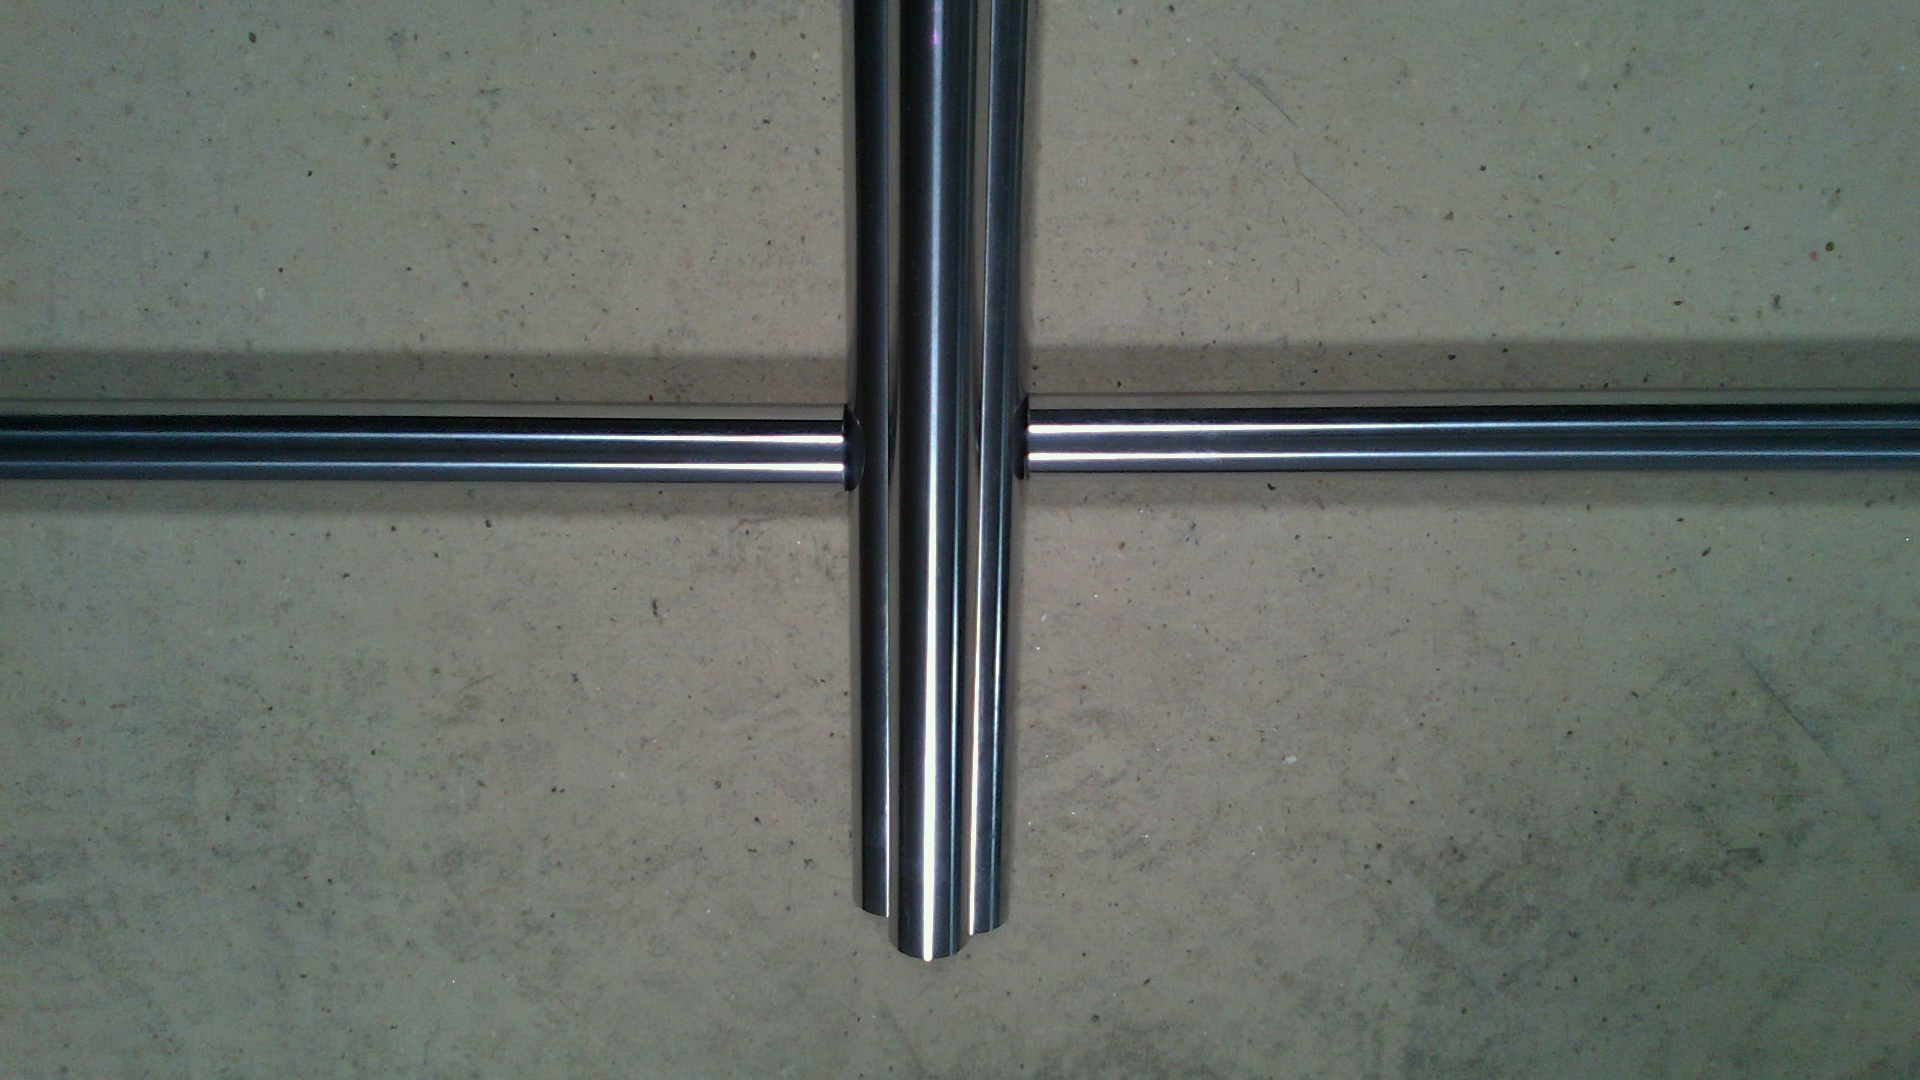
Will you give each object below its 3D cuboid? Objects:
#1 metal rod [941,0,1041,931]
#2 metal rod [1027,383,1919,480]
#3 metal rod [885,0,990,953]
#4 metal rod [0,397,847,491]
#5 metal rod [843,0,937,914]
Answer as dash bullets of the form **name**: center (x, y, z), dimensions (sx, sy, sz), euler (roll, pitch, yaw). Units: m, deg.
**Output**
- **metal rod**: center (0.006, -0.024, 0.386), dimensions (0.025, 0.025, 0.300), euler (1, 110, 0)
- **metal rod**: center (0.169, -0.030, 0.384), dimensions (0.300, 0.025, 0.025), euler (0, 110, 0)
- **metal rod**: center (-0.007, -0.024, 0.364), dimensions (0.025, 0.025, 0.300), euler (1, 110, 0)
- **metal rod**: center (-0.182, -0.027, 0.383), dimensions (0.300, 0.025, 0.025), euler (0, 110, 0)
- **metal rod**: center (-0.019, -0.029, 0.384), dimensions (0.025, 0.025, 0.300), euler (1, 110, 0)
